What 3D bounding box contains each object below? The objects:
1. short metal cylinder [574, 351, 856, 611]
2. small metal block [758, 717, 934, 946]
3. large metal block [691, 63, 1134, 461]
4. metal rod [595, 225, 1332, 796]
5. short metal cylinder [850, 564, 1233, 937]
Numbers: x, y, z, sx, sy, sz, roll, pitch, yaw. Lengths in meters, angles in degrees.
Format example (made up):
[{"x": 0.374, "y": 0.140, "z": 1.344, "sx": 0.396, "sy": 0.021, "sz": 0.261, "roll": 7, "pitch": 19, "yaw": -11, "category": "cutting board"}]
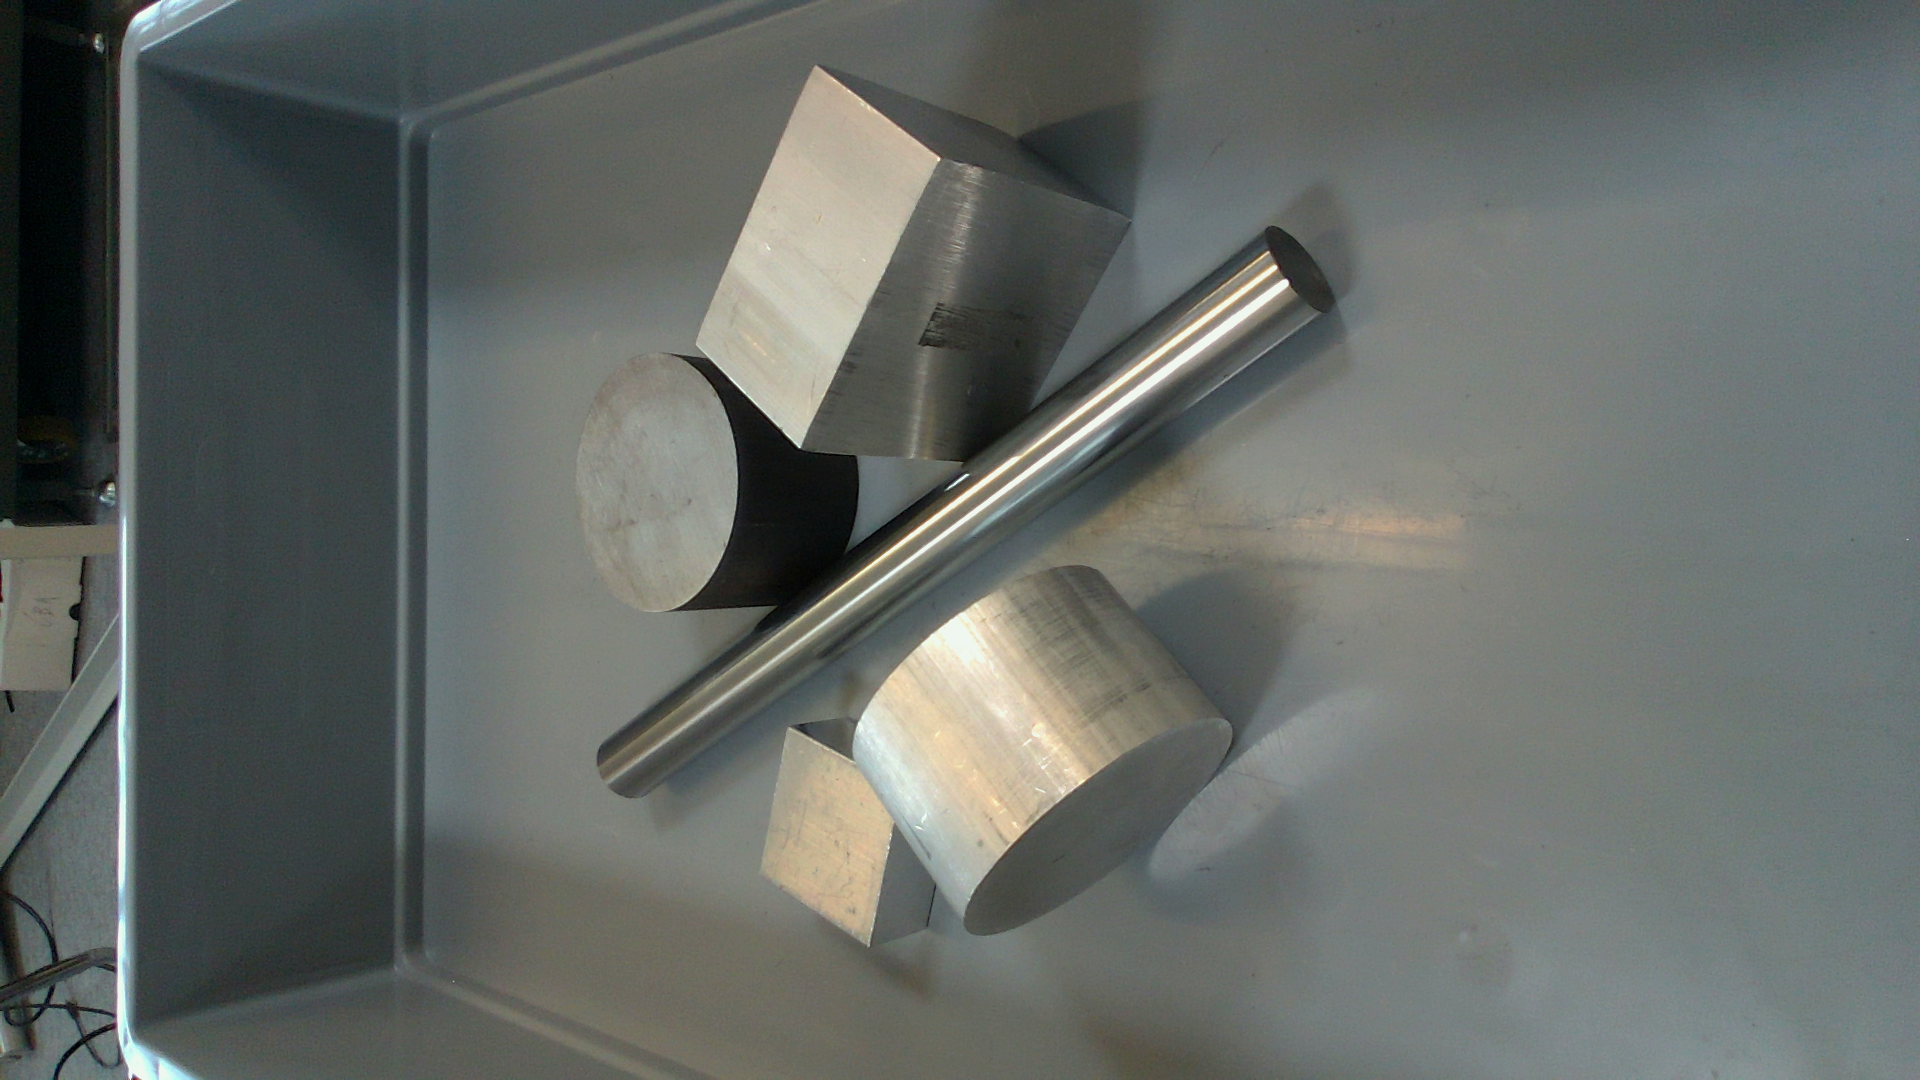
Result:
[{"x": -0.080, "y": -0.018, "z": 0.444, "sx": 0.080, "sy": 0.050, "sz": 0.080, "roll": 0, "pitch": 90, "yaw": 40, "category": "short metal cylinder"}, {"x": -0.032, "y": 0.087, "z": 0.420, "sx": 0.050, "sy": 0.025, "sz": 0.050, "roll": 19, "pitch": 102, "yaw": 38, "category": "small metal block"}, {"x": -0.012, "y": -0.069, "z": 0.368, "sx": 0.050, "sy": 0.080, "sz": 0.080, "roll": 44, "pitch": 116, "yaw": 31, "category": "large metal block"}, {"x": -0.020, "y": 0.008, "z": 0.410, "sx": 0.299, "sy": 0.025, "sz": 0.025, "roll": -36, "pitch": 68, "yaw": 34, "category": "metal rod"}, {"x": 0.020, "y": 0.052, "z": 0.341, "sx": 0.050, "sy": 0.080, "sz": 0.080, "roll": 51, "pitch": 120, "yaw": 28, "category": "short metal cylinder"}]
